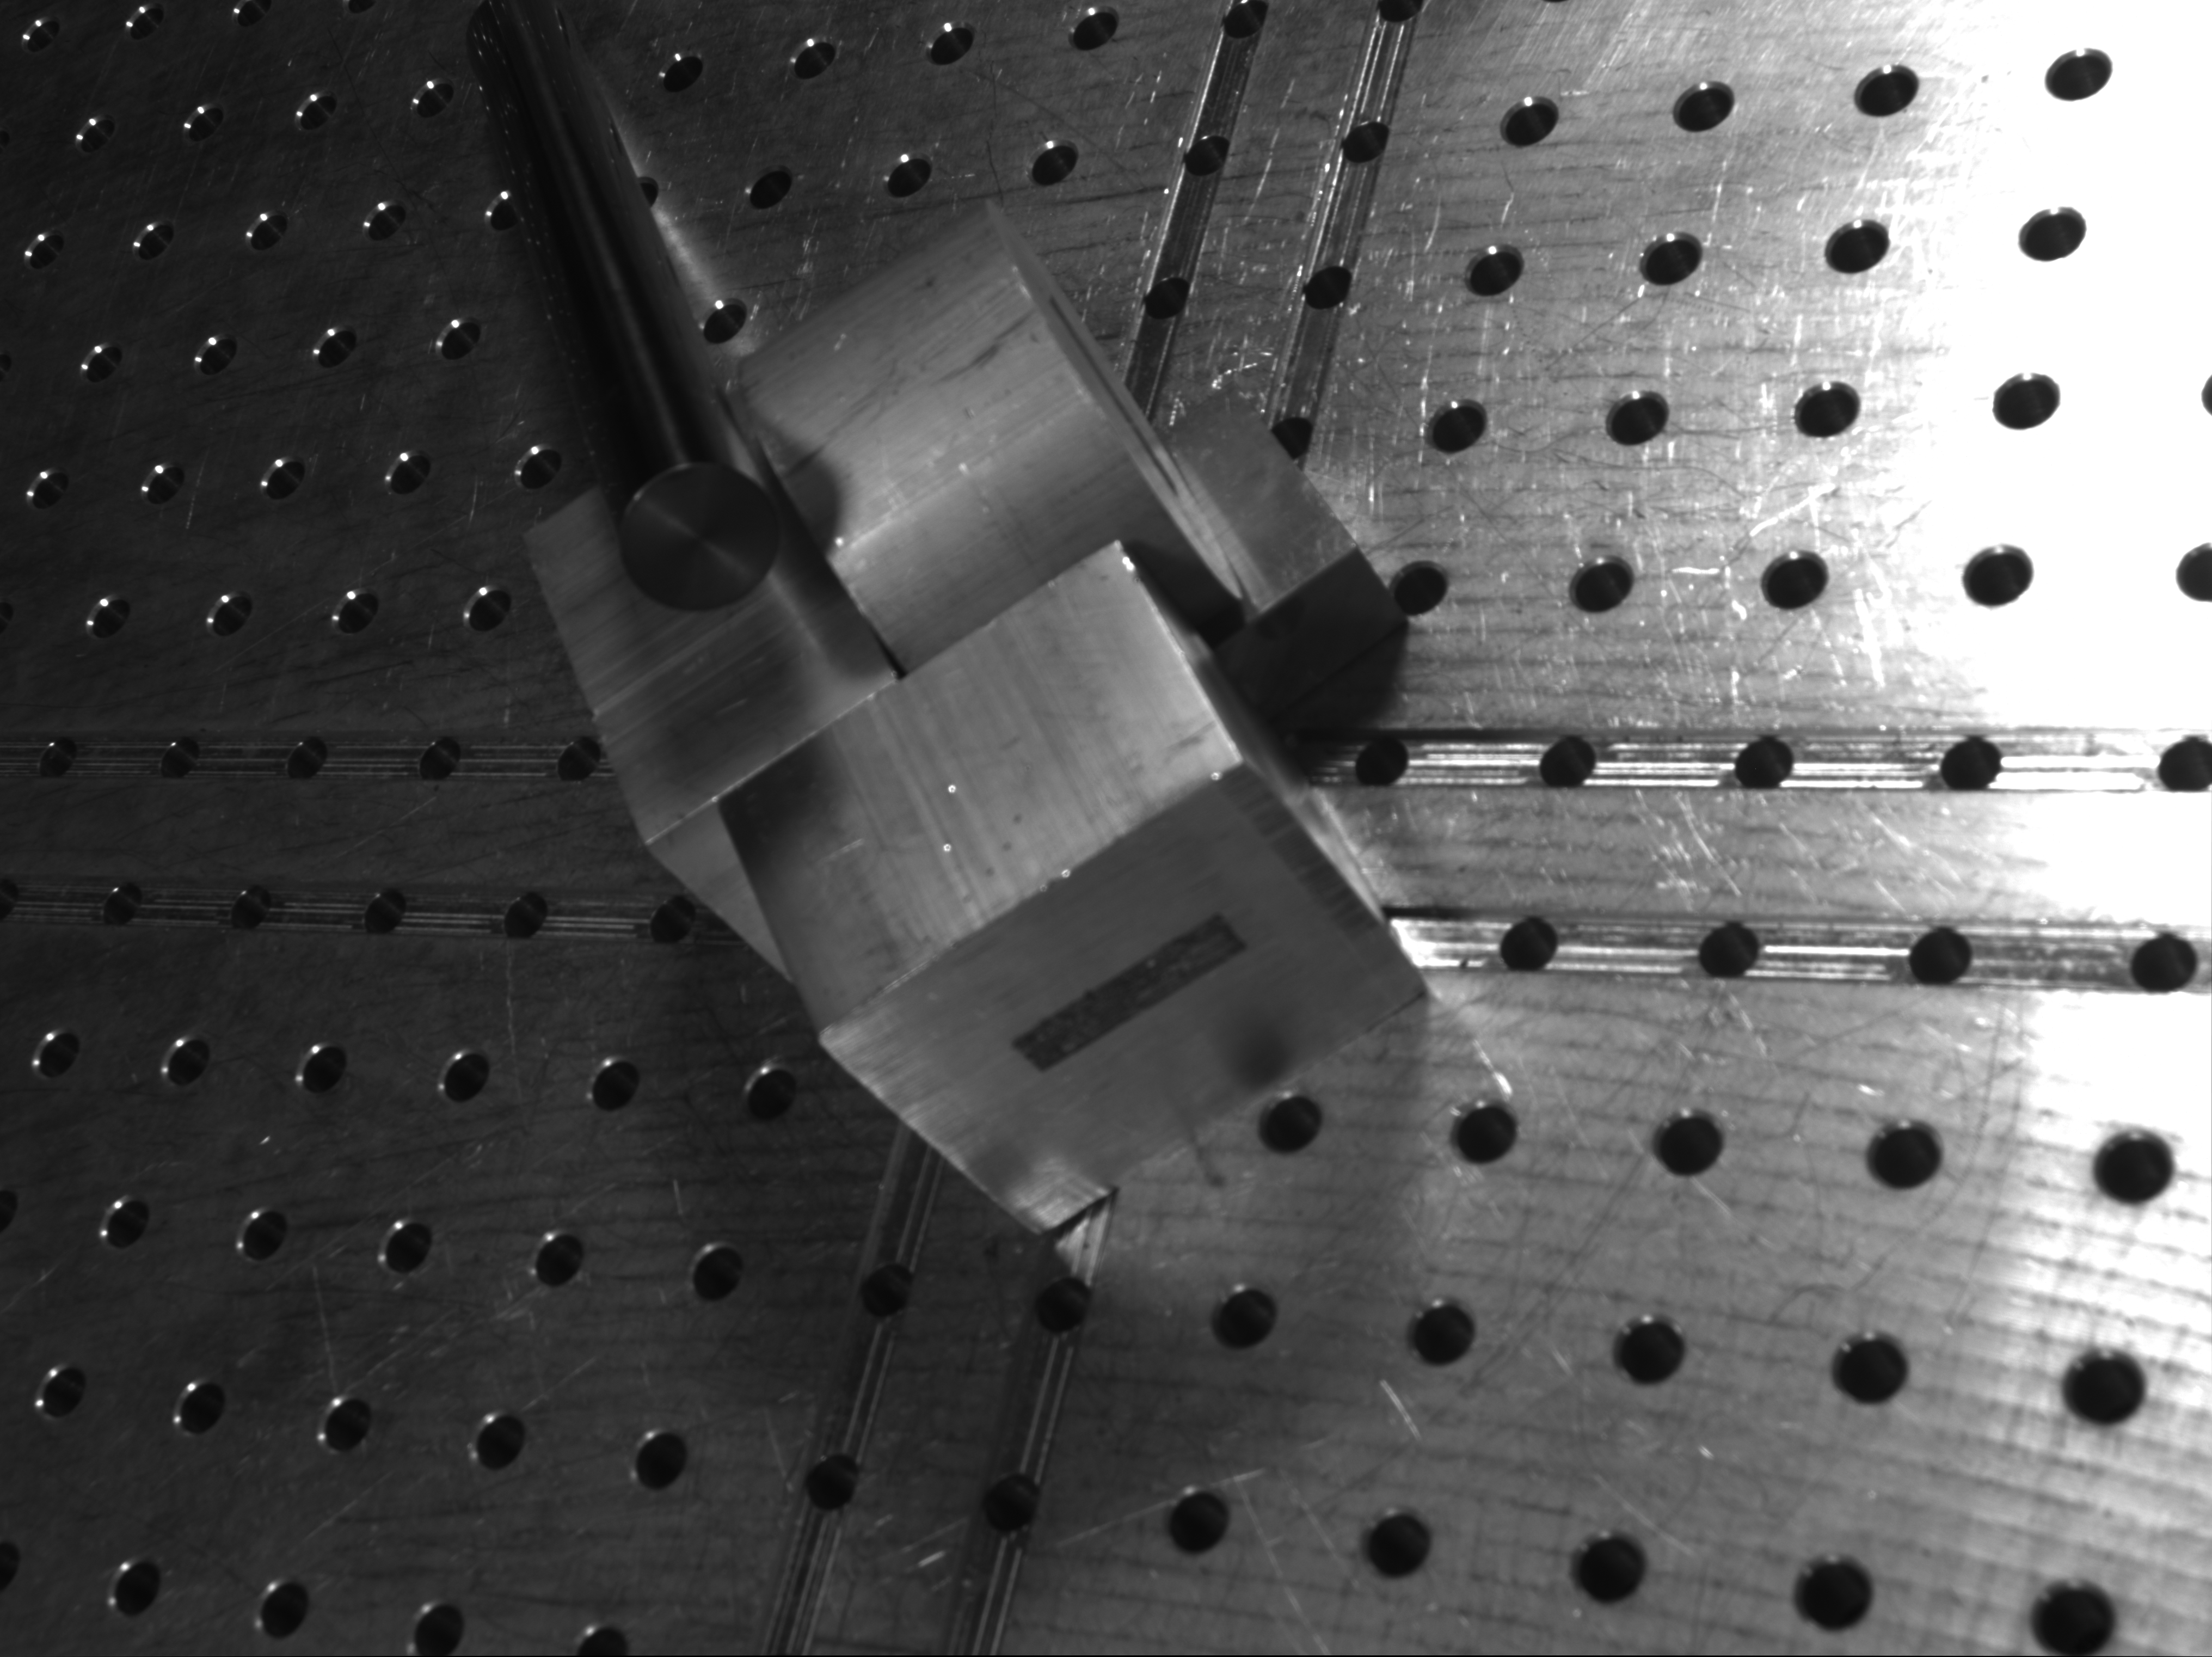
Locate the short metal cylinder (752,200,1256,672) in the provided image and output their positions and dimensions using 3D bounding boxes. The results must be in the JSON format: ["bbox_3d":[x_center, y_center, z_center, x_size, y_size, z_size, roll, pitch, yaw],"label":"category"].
[{"bbox_3d":[-0.017,-0.060,0.625,0.050,0.080,0.080,-32,51,8],"label":"short metal cylinder"}]

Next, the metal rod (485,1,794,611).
[{"bbox_3d":[-0.095,-0.111,0.700,0.025,0.025,0.300,-35,29,5],"label":"metal rod"}]

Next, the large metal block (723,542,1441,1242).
[{"bbox_3d":[-0.003,0.012,0.603,0.080,0.080,0.050,-33,51,7],"label":"large metal block"}]

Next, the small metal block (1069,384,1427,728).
[{"bbox_3d":[0.022,-0.044,0.664,0.050,0.025,0.050,-36,51,4],"label":"small metal block"}]

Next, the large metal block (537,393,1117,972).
[{"bbox_3d":[-0.049,-0.018,0.650,0.050,0.080,0.080,-33,51,7],"label":"large metal block"}]
